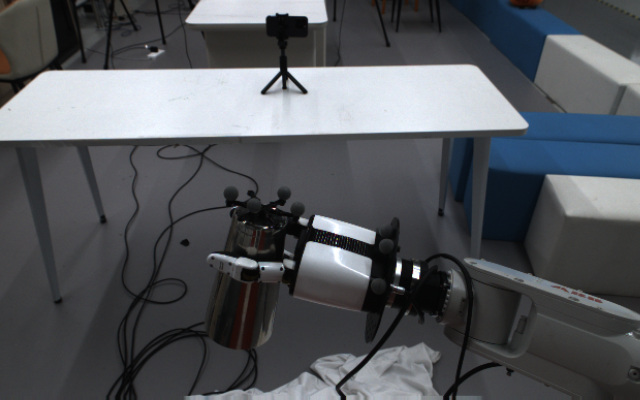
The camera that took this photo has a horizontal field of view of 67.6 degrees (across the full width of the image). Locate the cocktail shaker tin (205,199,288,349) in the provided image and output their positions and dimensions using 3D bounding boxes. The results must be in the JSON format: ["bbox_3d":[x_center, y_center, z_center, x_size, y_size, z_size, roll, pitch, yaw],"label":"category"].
[{"bbox_3d":[-0.086,0.091,0.615,0.093,0.170,0.093,12,25,-6],"label":"cocktail shaker tin"}]
